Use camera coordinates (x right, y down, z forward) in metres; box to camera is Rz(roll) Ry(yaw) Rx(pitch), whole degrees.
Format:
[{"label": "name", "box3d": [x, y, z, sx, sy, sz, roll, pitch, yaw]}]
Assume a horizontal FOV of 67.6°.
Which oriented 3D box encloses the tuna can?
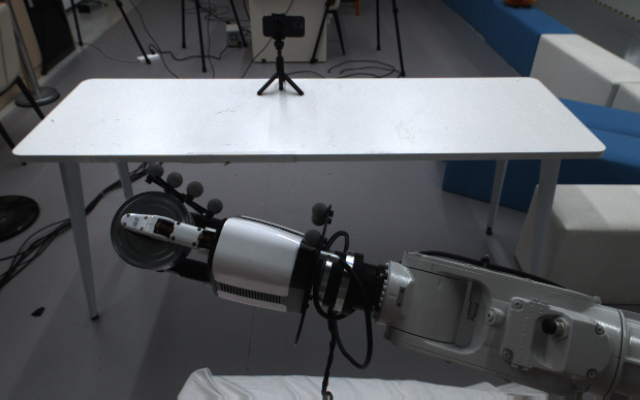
[{"label": "tuna can", "box3d": [-0.181, 0.036, 0.538, 0.085, 0.034, 0.085, 1, 75, -4]}]
